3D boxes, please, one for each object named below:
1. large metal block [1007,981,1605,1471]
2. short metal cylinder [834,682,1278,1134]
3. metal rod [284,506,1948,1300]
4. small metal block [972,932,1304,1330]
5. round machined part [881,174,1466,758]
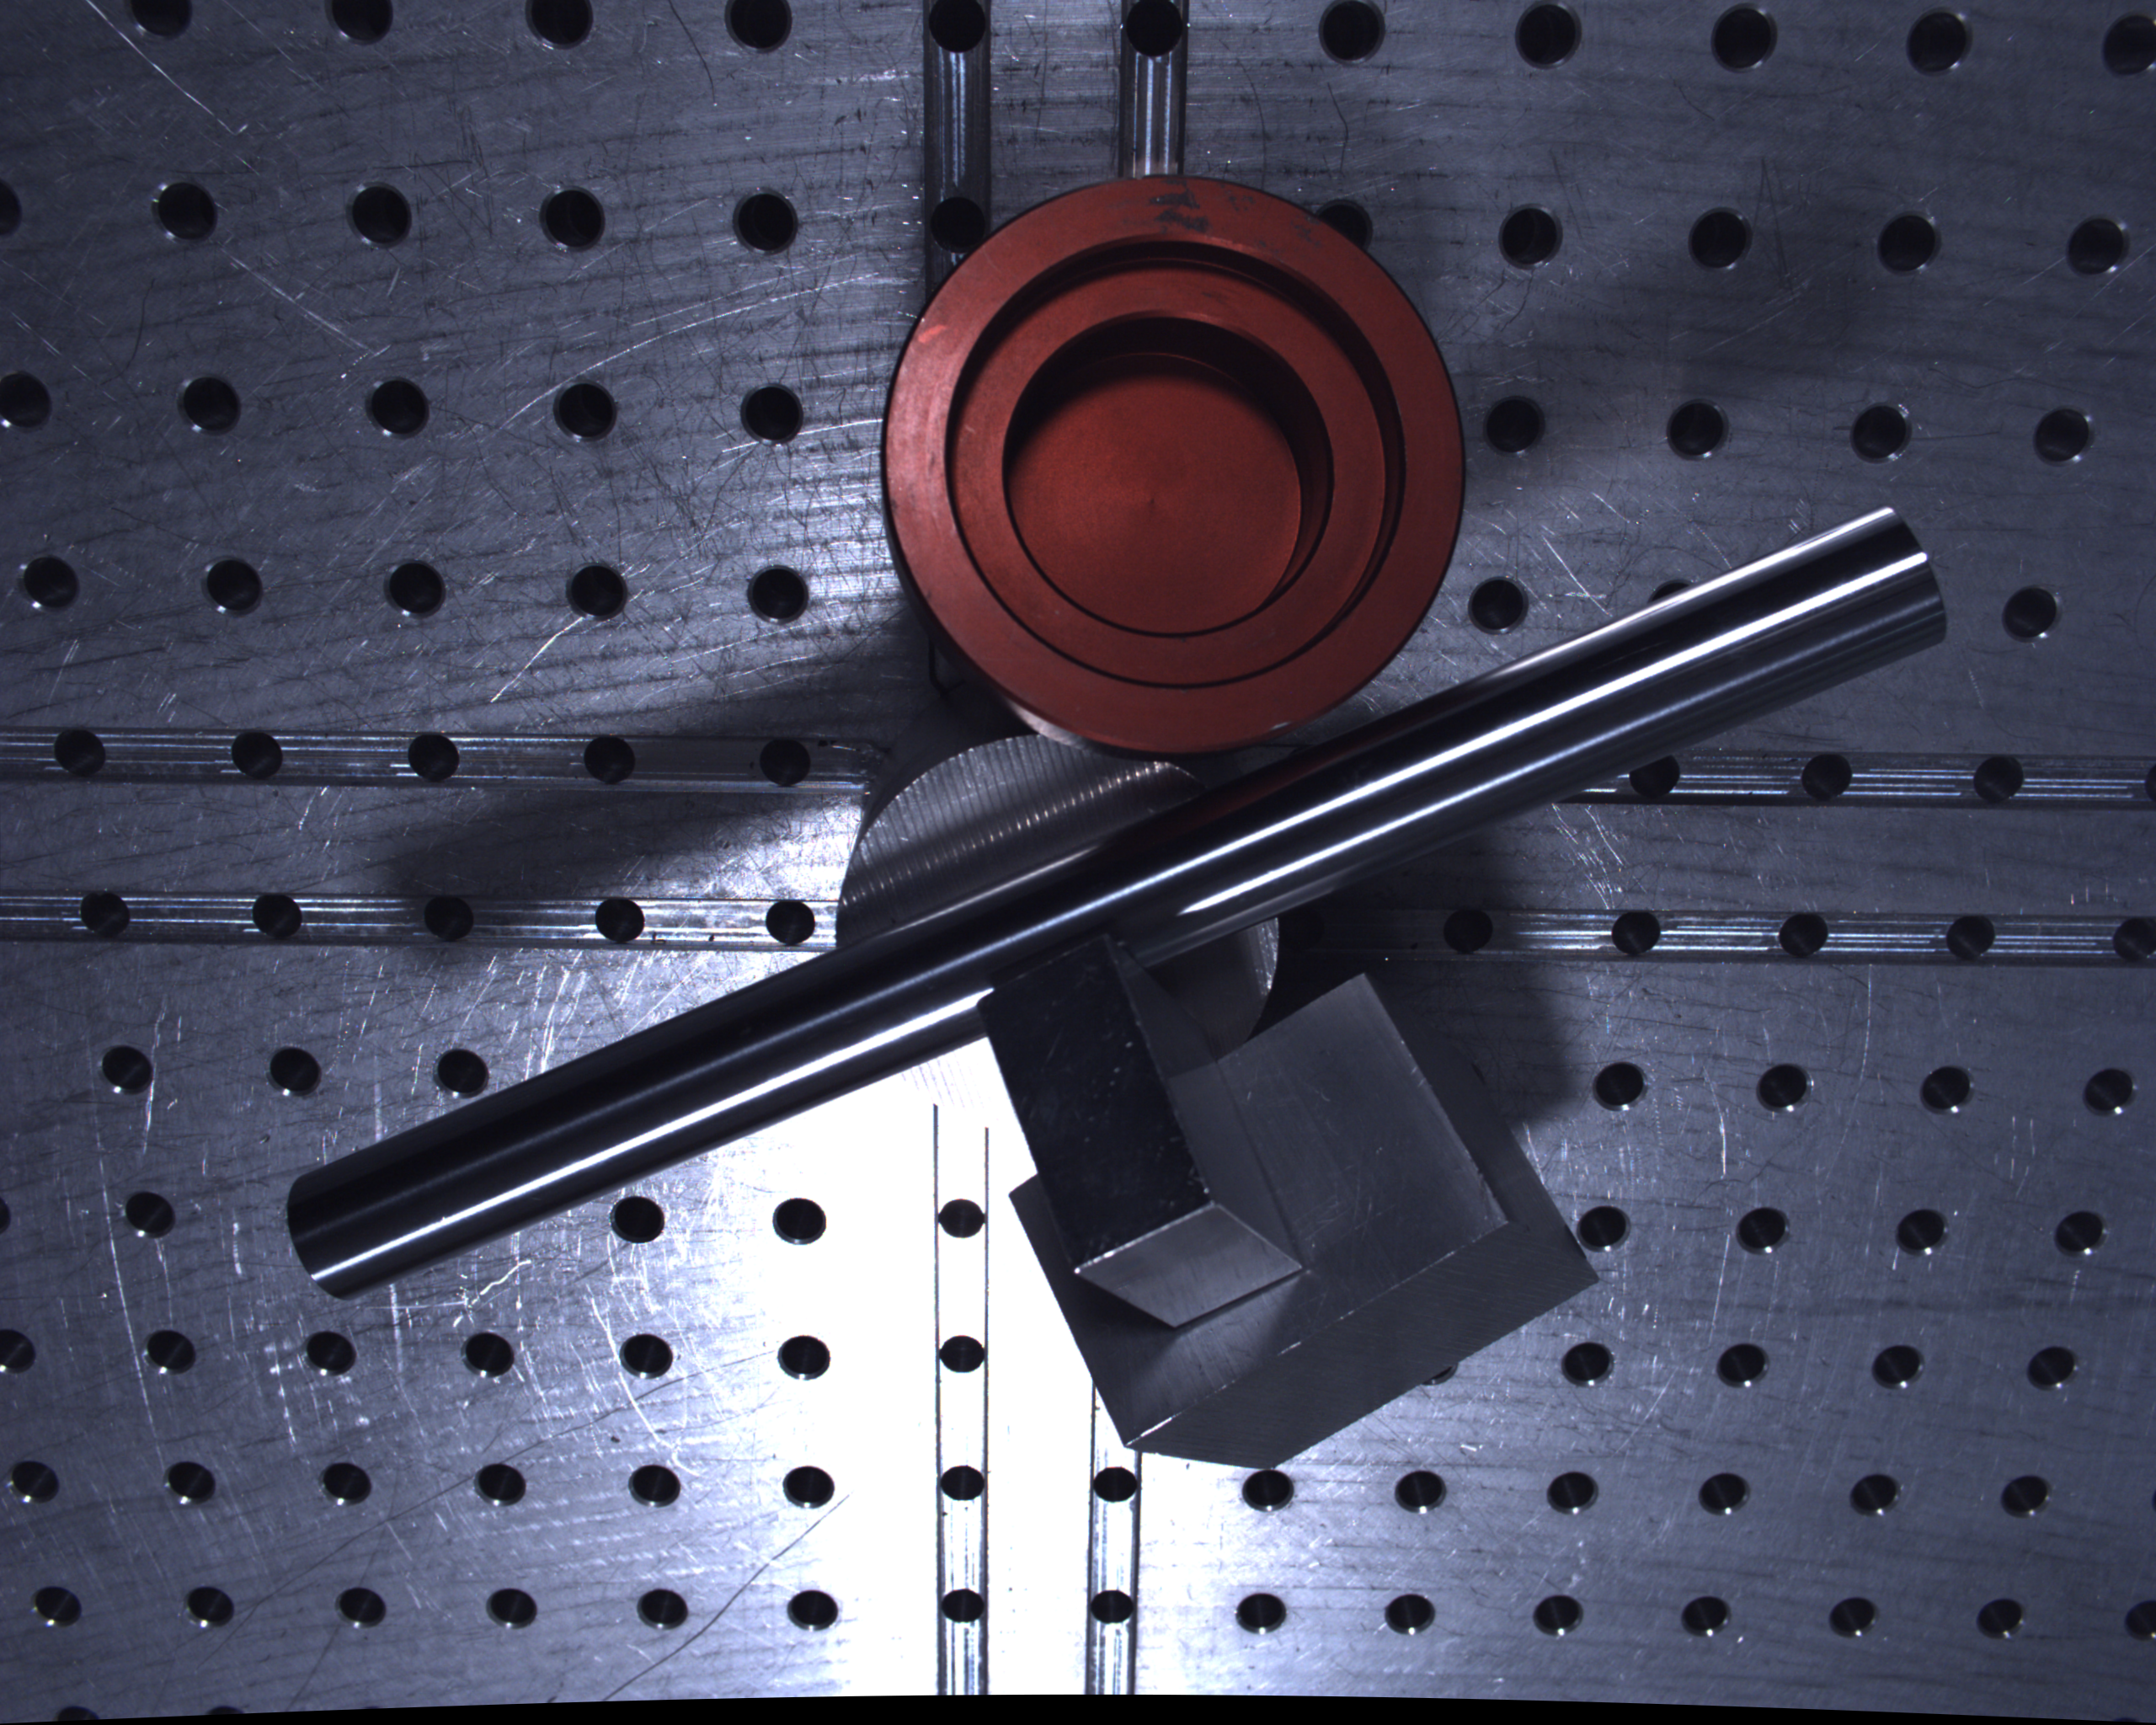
[{"bbox_3d":[0.046,0.074,0.404,0.080,0.050,0.080,-33,152,11],"label":"large metal block"},{"bbox_3d":[-0.004,0.006,0.401,0.081,0.050,0.079,0,110,-1],"label":"short metal cylinder"},{"bbox_3d":[0.000,0.011,0.363,0.301,0.025,0.025,-23,109,7],"label":"metal rod"},{"bbox_3d":[0.011,0.046,0.352,0.025,0.050,0.050,-28,150,9],"label":"small metal block"},{"bbox_3d":[0.015,-0.066,0.368,0.099,0.042,0.097,0,88,-6],"label":"round machined part"}]
